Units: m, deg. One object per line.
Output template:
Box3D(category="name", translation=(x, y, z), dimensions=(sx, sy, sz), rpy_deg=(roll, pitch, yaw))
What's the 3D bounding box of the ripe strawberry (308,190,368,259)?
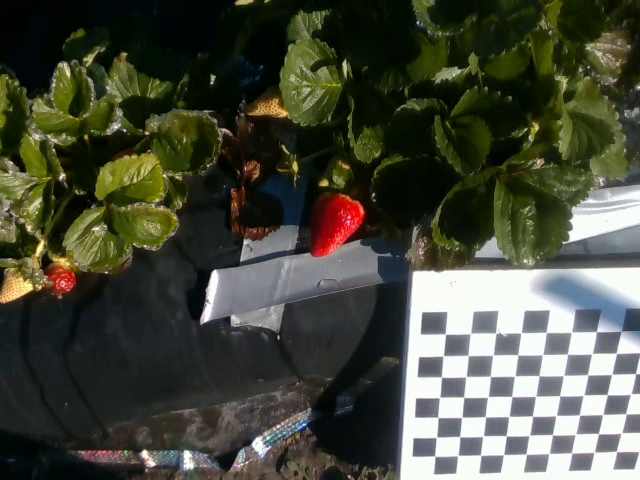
Box3D(category="ripe strawberry", translation=(0.014, -0.007, 0.568), dimensions=(0.061, 0.065, 0.057), rpy_deg=(30, -26, -15))
